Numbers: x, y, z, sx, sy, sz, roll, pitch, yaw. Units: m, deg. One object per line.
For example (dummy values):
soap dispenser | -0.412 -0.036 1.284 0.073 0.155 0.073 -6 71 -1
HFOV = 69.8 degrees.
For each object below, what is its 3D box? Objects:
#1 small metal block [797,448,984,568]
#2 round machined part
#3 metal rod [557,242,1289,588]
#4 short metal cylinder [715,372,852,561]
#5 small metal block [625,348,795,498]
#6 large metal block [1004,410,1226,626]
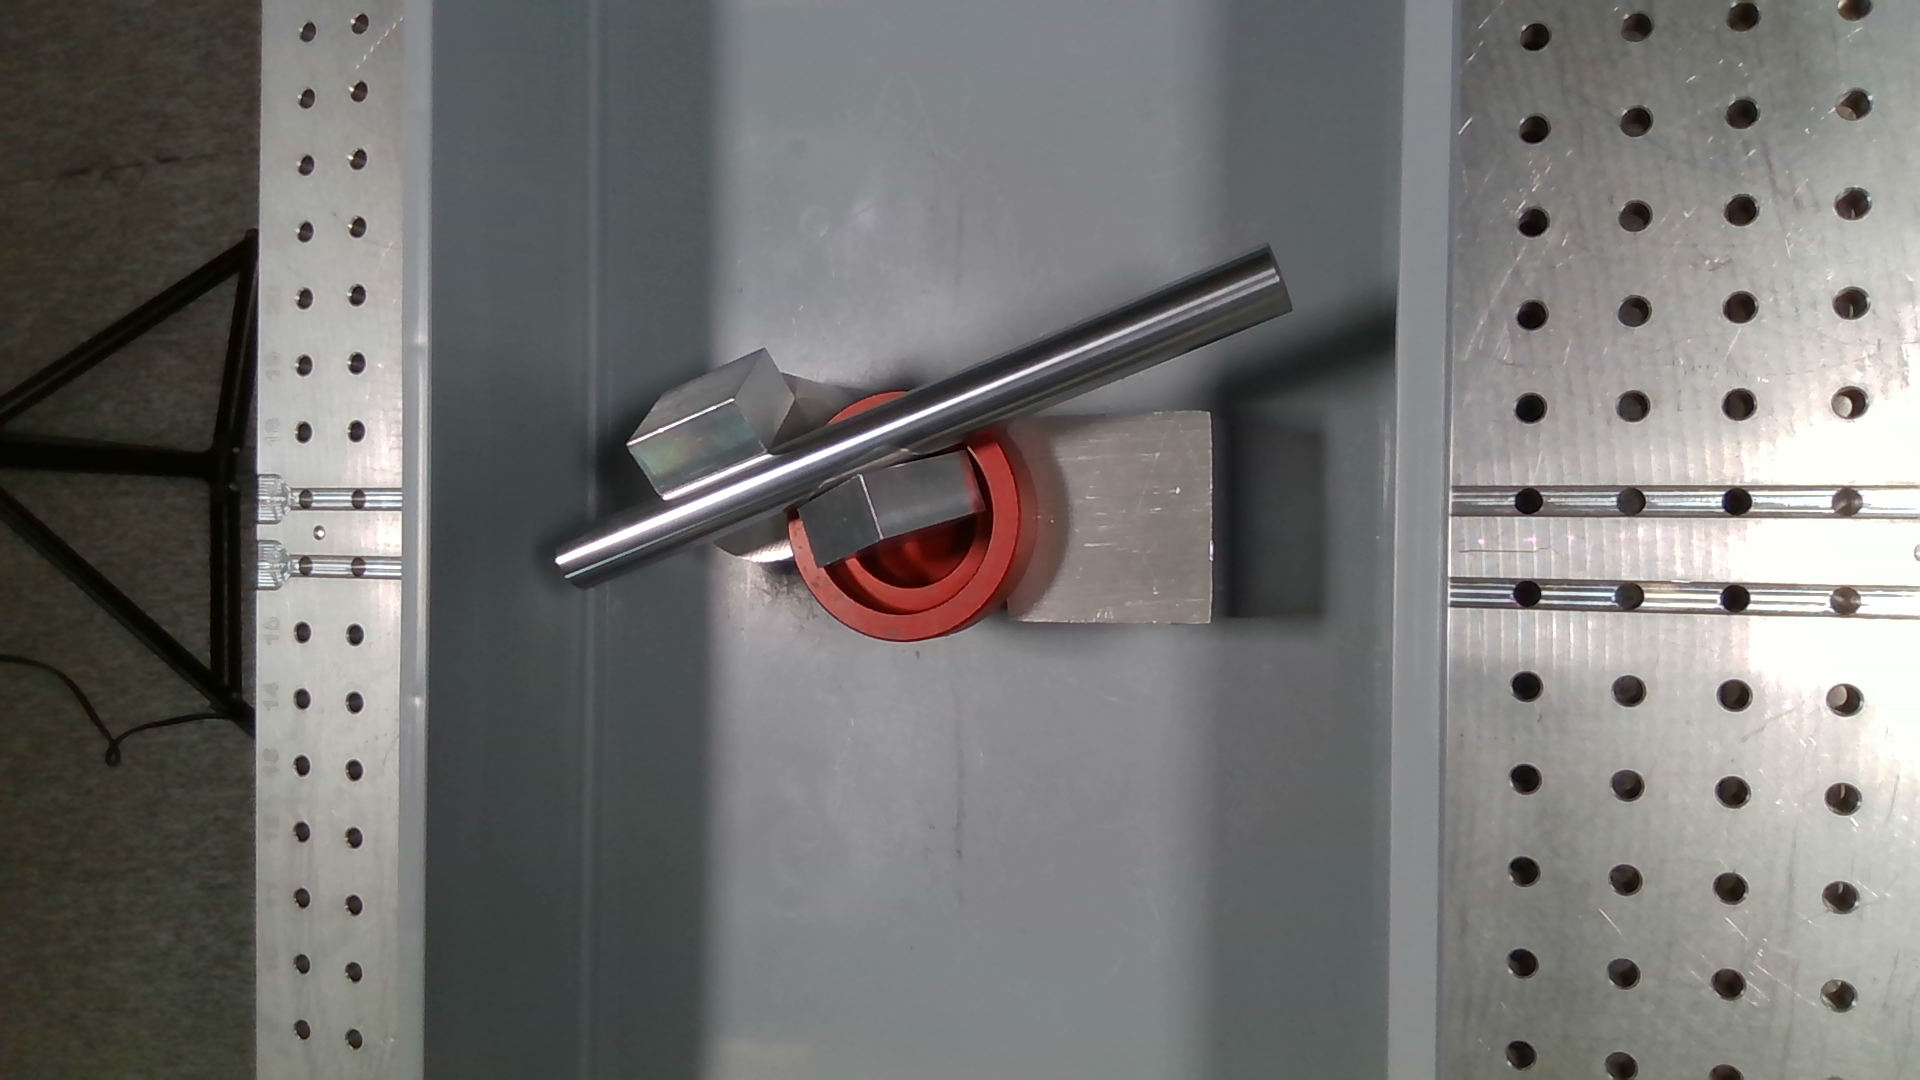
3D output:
small metal block | -0.027 -0.012 0.530 0.050 0.050 0.025 -23 85 54
round machined part | -0.016 -0.009 0.550 0.098 0.042 0.098 0 91 20
metal rod | -0.025 -0.041 0.519 0.300 0.025 0.025 -20 83 19
short metal cylinder | -0.074 -0.031 0.599 0.080 0.050 0.080 0 90 20
small metal block | -0.099 -0.048 0.552 0.050 0.050 0.025 -20 117 19
large metal block | 0.063 -0.008 0.546 0.080 0.050 0.080 0 90 20
